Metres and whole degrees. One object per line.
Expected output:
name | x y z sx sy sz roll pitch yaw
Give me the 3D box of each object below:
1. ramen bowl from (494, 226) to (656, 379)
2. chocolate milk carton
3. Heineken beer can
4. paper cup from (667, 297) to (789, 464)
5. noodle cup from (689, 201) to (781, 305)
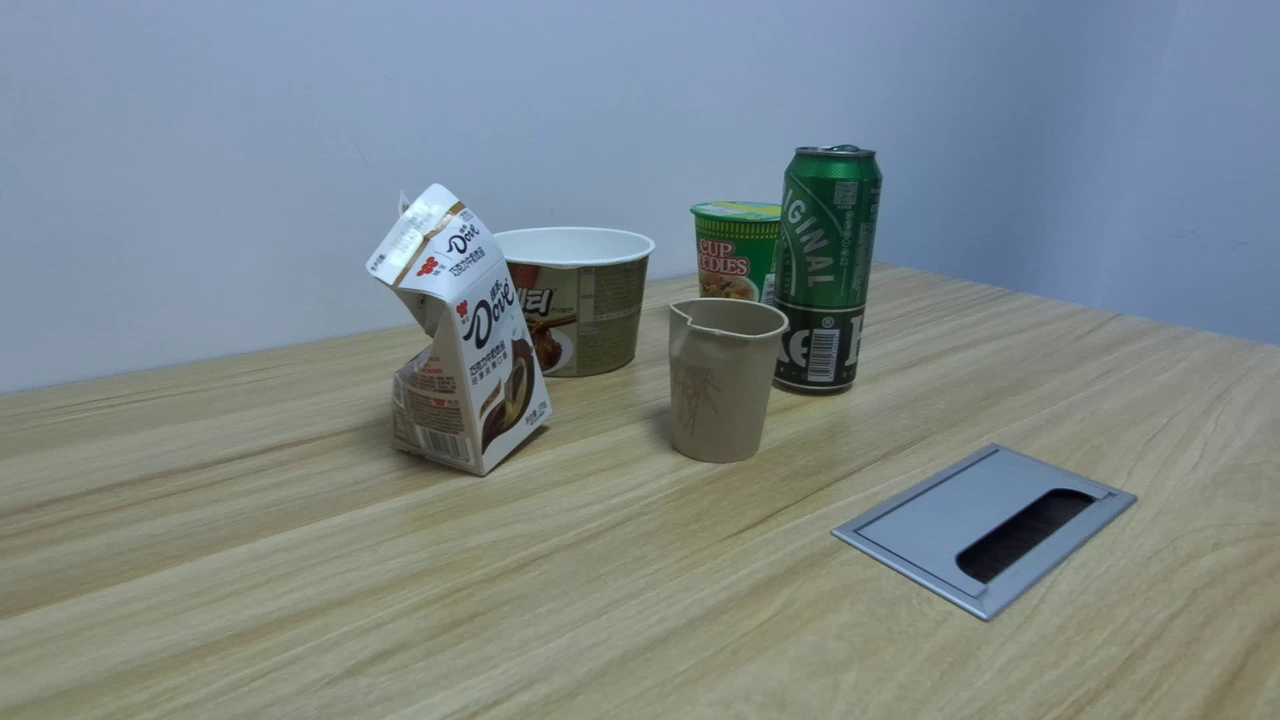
ramen bowl | -0.059 -0.049 0.570 0.140 0.095 0.140 2 20 -1
chocolate milk carton | -0.109 -0.015 0.409 0.076 0.156 0.089 6 34 24
Heineken beer can | 0.131 -0.063 0.509 0.067 0.169 0.067 2 19 0
paper cup | 0.049 0.011 0.423 0.073 0.081 0.069 9 21 18
noodle cup | 0.093 -0.080 0.637 0.097 0.110 0.097 1 18 0
